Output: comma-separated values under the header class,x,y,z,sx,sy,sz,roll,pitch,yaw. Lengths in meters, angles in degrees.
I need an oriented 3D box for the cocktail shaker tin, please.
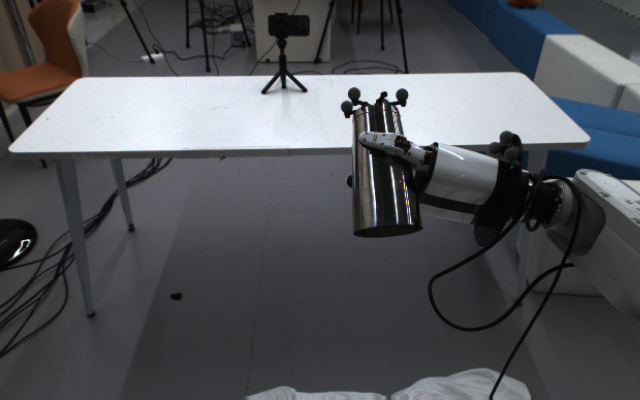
class,x,y,z,sx,sy,sz,roll,pitch,yaw
cocktail shaker tin,0.085,-0.040,0.661,0.093,0.093,0.170,-3,77,-8
